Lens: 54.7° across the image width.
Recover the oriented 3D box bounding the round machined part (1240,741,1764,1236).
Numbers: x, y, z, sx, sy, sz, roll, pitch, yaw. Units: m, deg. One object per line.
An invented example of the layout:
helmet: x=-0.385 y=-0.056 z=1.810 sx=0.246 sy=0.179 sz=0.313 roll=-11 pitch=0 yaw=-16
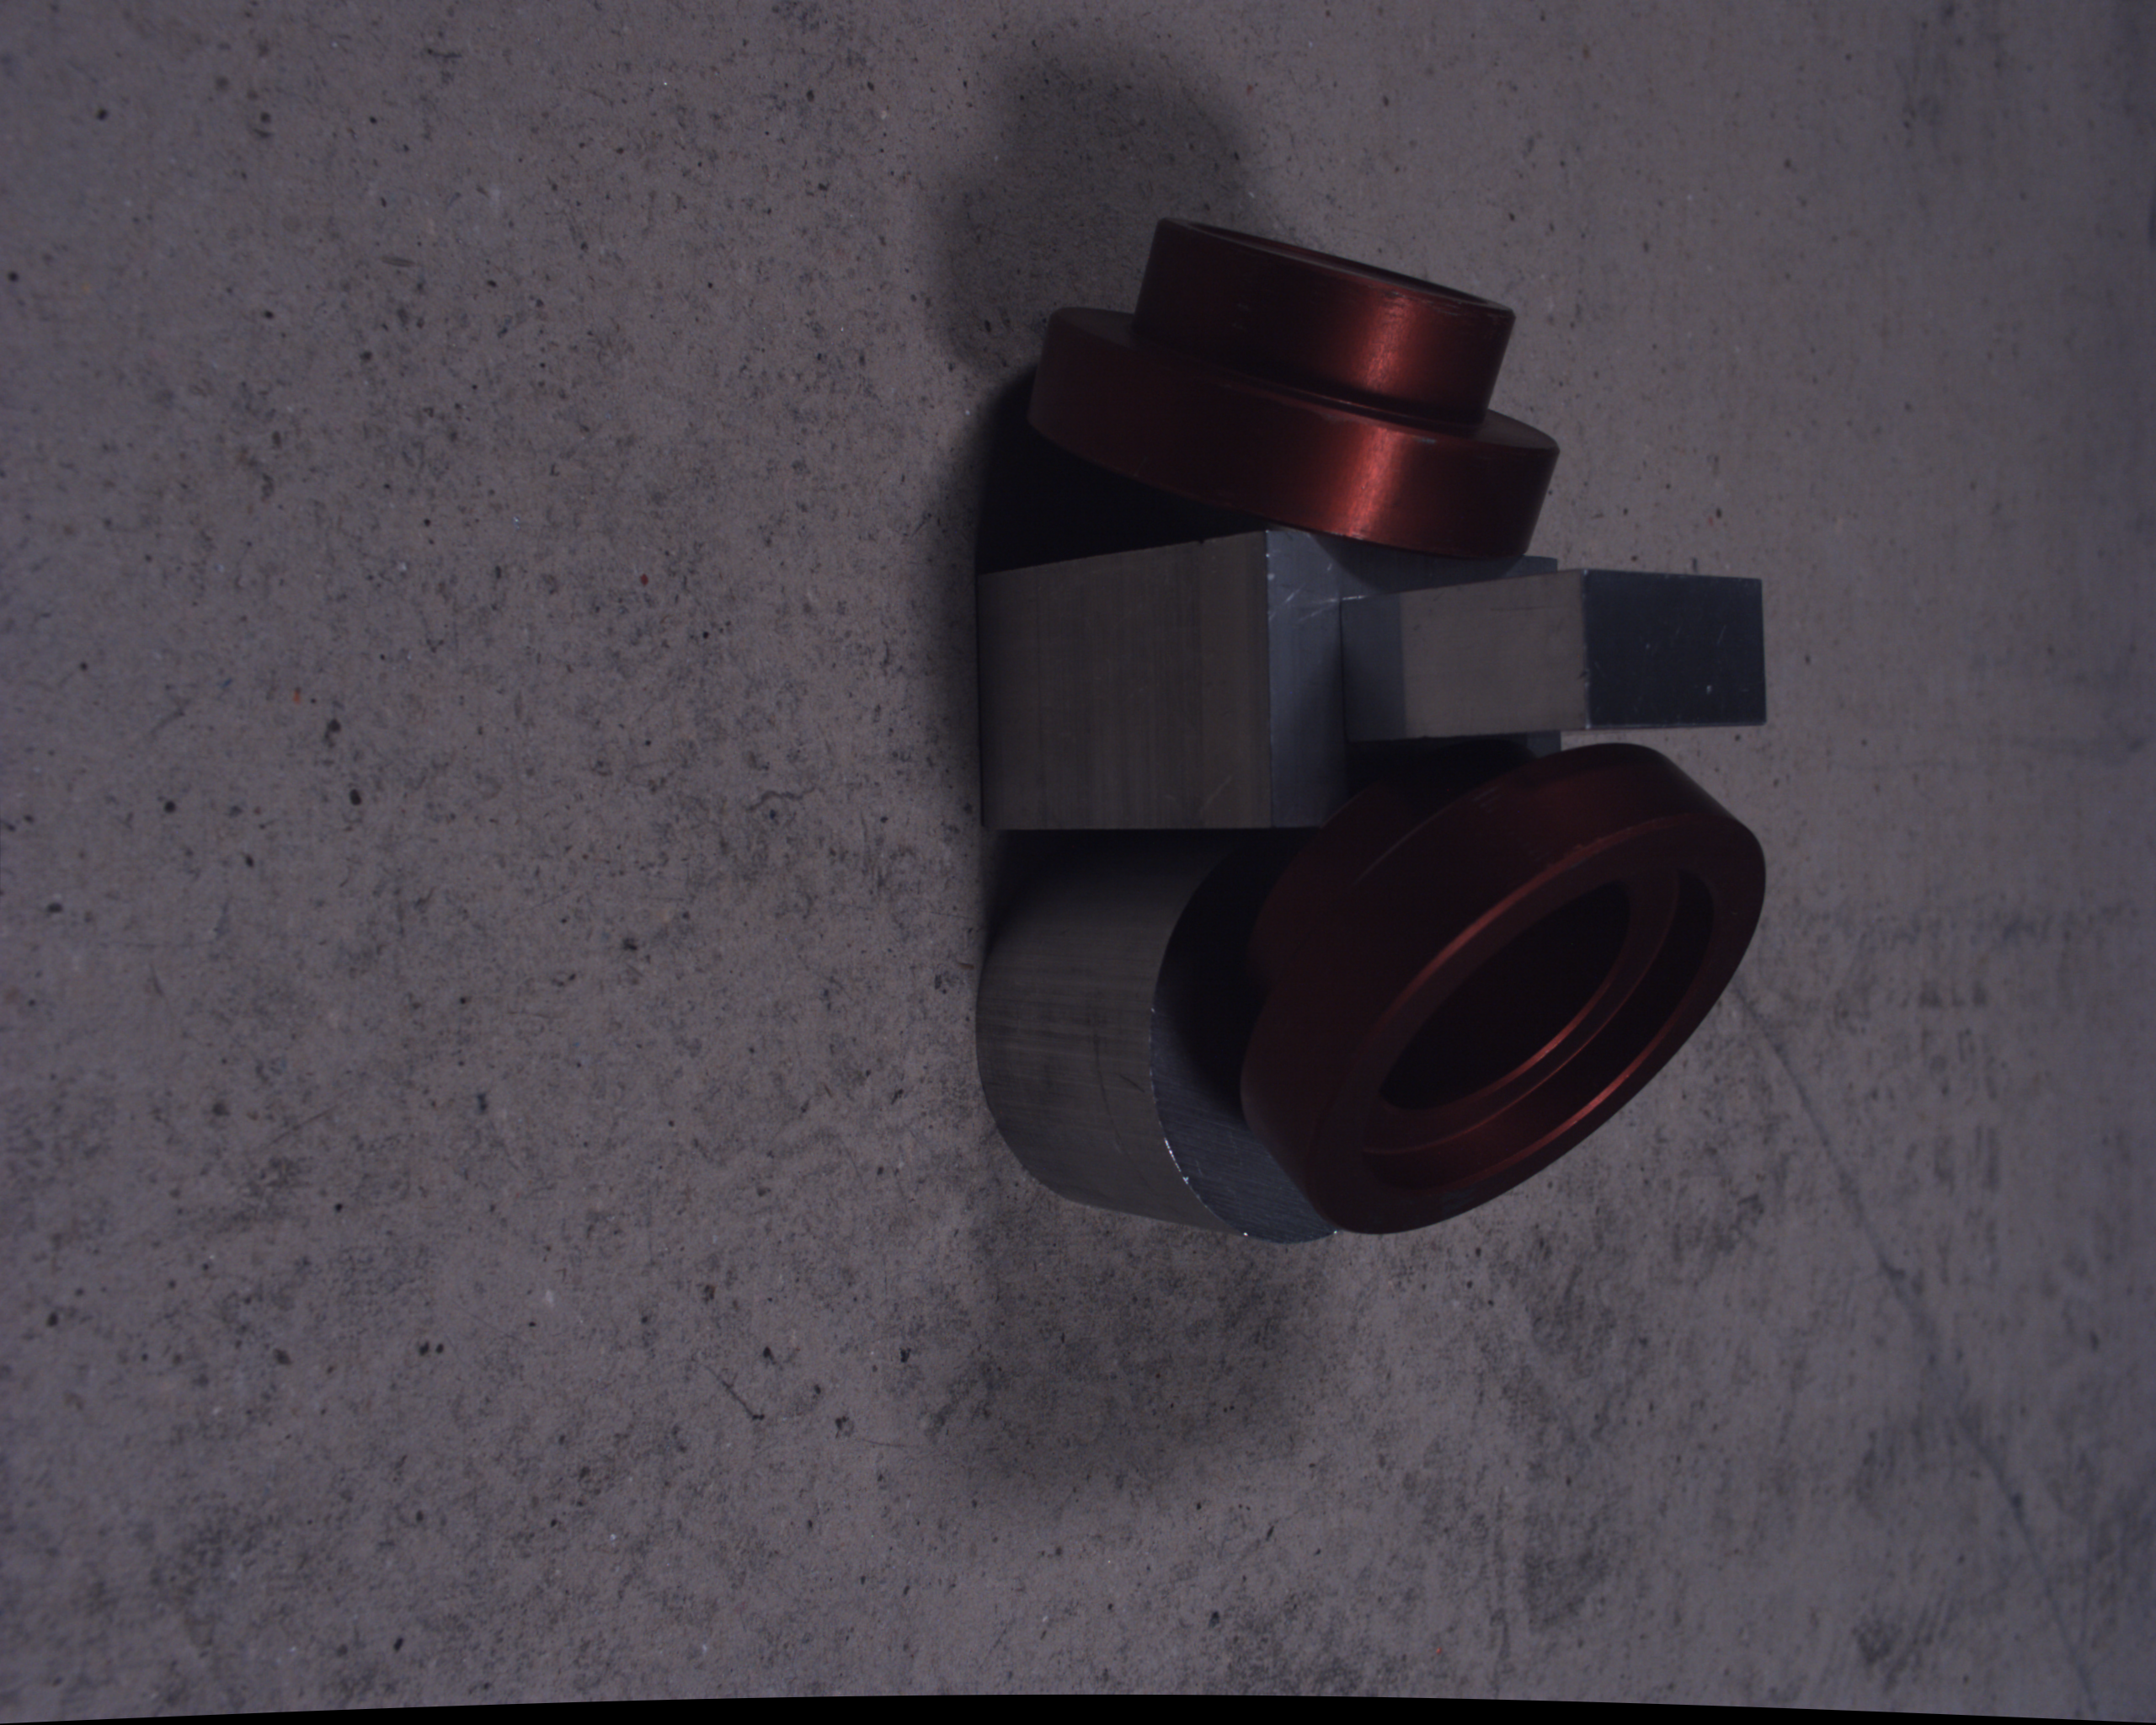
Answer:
round machined part: x=0.069 y=0.017 z=0.369 sx=0.099 sy=0.042 sz=0.097 roll=-24 pitch=141 yaw=-21

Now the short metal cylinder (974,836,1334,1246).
short metal cylinder: x=0.027 y=0.033 z=0.416 sx=0.081 sy=0.050 sz=0.079 roll=0 pitch=90 yaw=-40

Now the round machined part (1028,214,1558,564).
round machined part: x=0.043 y=-0.092 z=0.391 sx=0.099 sy=0.098 sz=0.042 roll=-3 pitch=117 yaw=-40

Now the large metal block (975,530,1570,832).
large metal block: x=0.037 y=-0.032 z=0.403 sx=0.081 sy=0.080 sz=0.050 roll=-3 pitch=92 yaw=-40

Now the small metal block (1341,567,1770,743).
small metal block: x=0.081 y=-0.034 z=0.355 sx=0.050 sy=0.050 sz=0.025 roll=-4 pitch=92 yaw=-40
